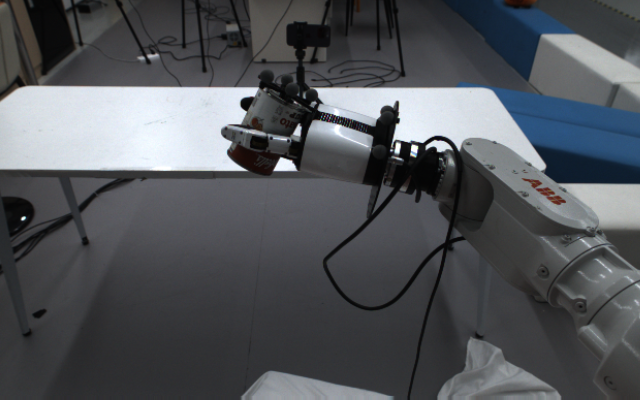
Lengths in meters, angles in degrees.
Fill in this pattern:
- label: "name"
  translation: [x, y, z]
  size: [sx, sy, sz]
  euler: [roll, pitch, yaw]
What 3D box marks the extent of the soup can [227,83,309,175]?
- label: "soup can"
  translation: [-0.070, -0.092, 0.637]
  size: [0.067, 0.101, 0.067]
  euler: [28, 18, -10]
